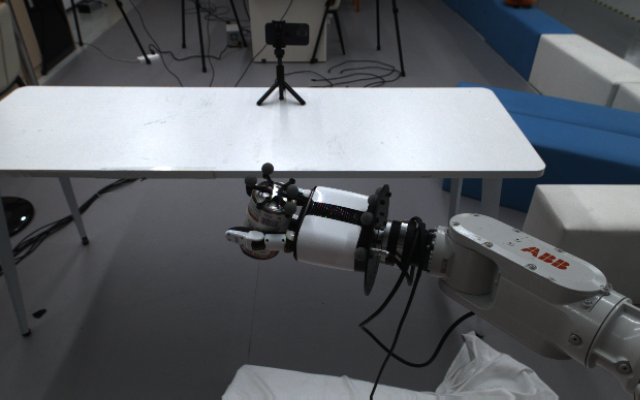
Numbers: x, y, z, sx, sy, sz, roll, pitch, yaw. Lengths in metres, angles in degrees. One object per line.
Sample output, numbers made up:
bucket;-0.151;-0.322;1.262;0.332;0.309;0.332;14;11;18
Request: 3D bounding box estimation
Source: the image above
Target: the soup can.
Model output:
soup can;-0.078;0.032;0.712;0.067;0.101;0.067;14;40;-12
